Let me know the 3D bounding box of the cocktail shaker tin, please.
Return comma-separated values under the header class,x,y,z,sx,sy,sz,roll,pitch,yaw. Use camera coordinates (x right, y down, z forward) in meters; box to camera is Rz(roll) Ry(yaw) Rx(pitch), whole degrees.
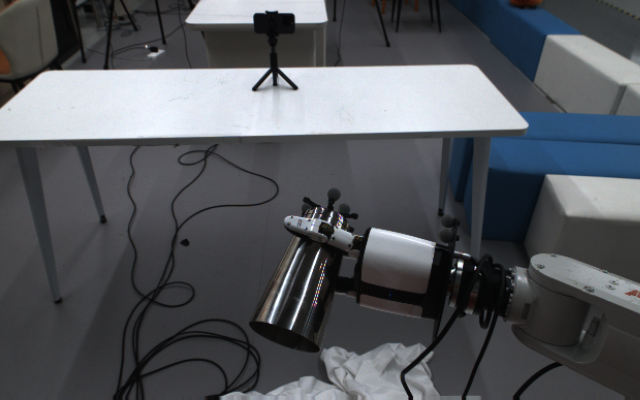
class,x,y,z,sx,sy,sz,roll,pitch,yaw
cocktail shaker tin,-0.017,0.094,0.624,0.093,0.093,0.170,14,59,16
